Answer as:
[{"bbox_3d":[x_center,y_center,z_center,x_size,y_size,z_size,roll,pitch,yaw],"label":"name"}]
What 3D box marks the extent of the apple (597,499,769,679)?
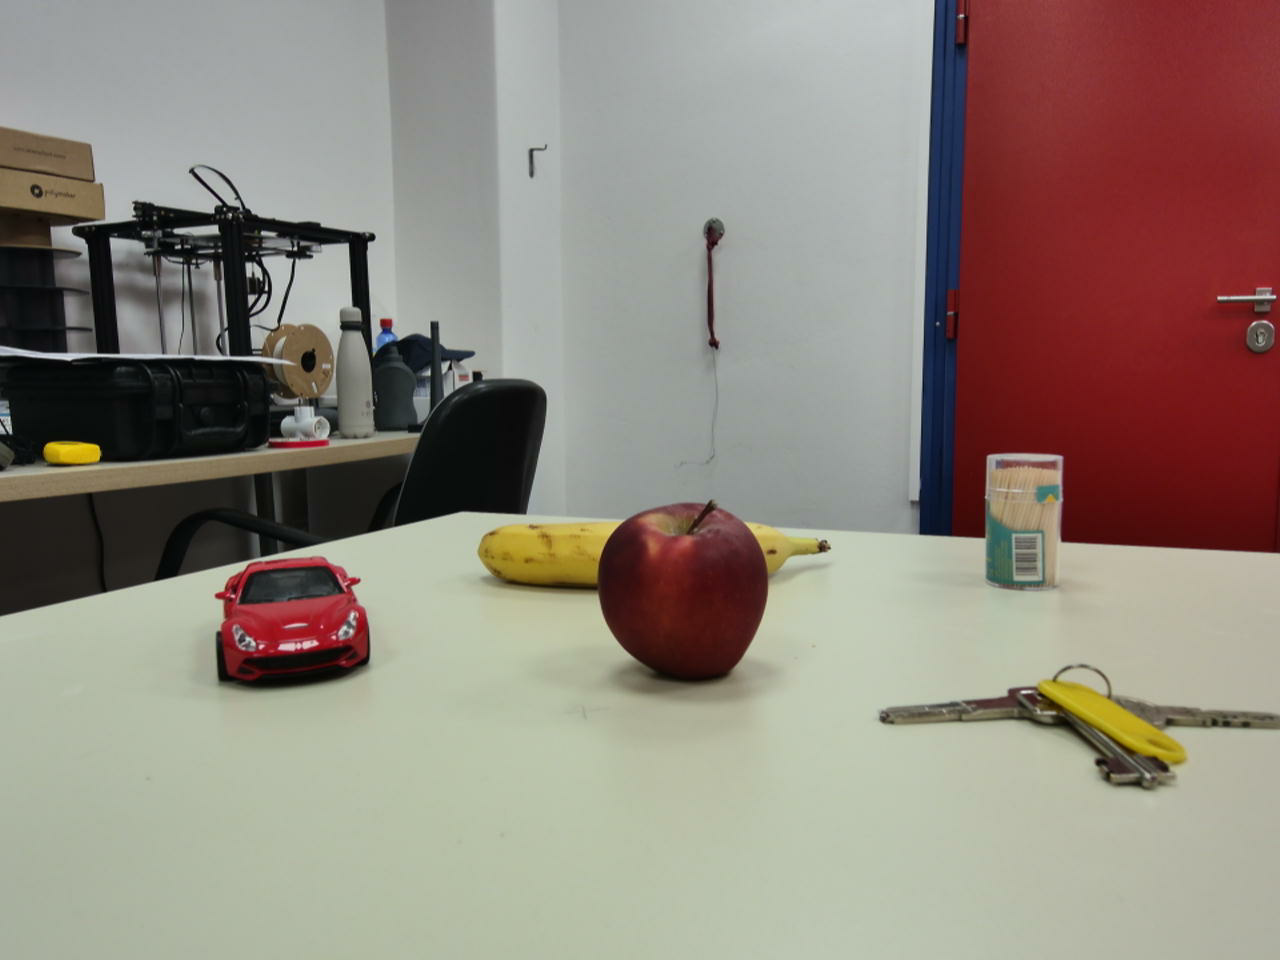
[{"bbox_3d":[0.018,0.044,0.409,0.070,0.072,0.070,-1,3,0],"label":"apple"}]
